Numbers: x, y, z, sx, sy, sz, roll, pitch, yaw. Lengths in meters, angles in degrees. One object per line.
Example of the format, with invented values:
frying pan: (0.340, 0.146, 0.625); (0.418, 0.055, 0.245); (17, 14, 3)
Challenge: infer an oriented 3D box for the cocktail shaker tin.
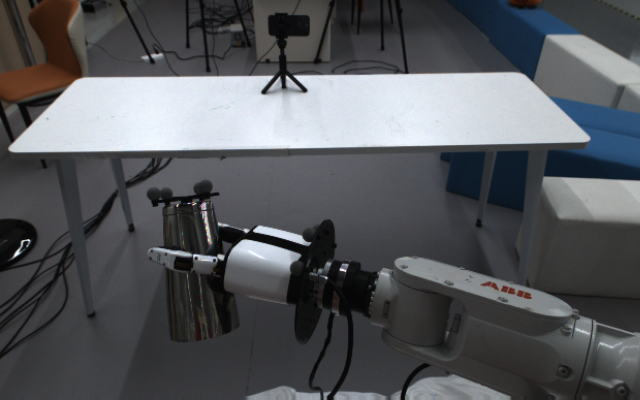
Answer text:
cocktail shaker tin: (-0.163, 0.091, 0.640); (0.093, 0.170, 0.093); (-8, 1, 0)
